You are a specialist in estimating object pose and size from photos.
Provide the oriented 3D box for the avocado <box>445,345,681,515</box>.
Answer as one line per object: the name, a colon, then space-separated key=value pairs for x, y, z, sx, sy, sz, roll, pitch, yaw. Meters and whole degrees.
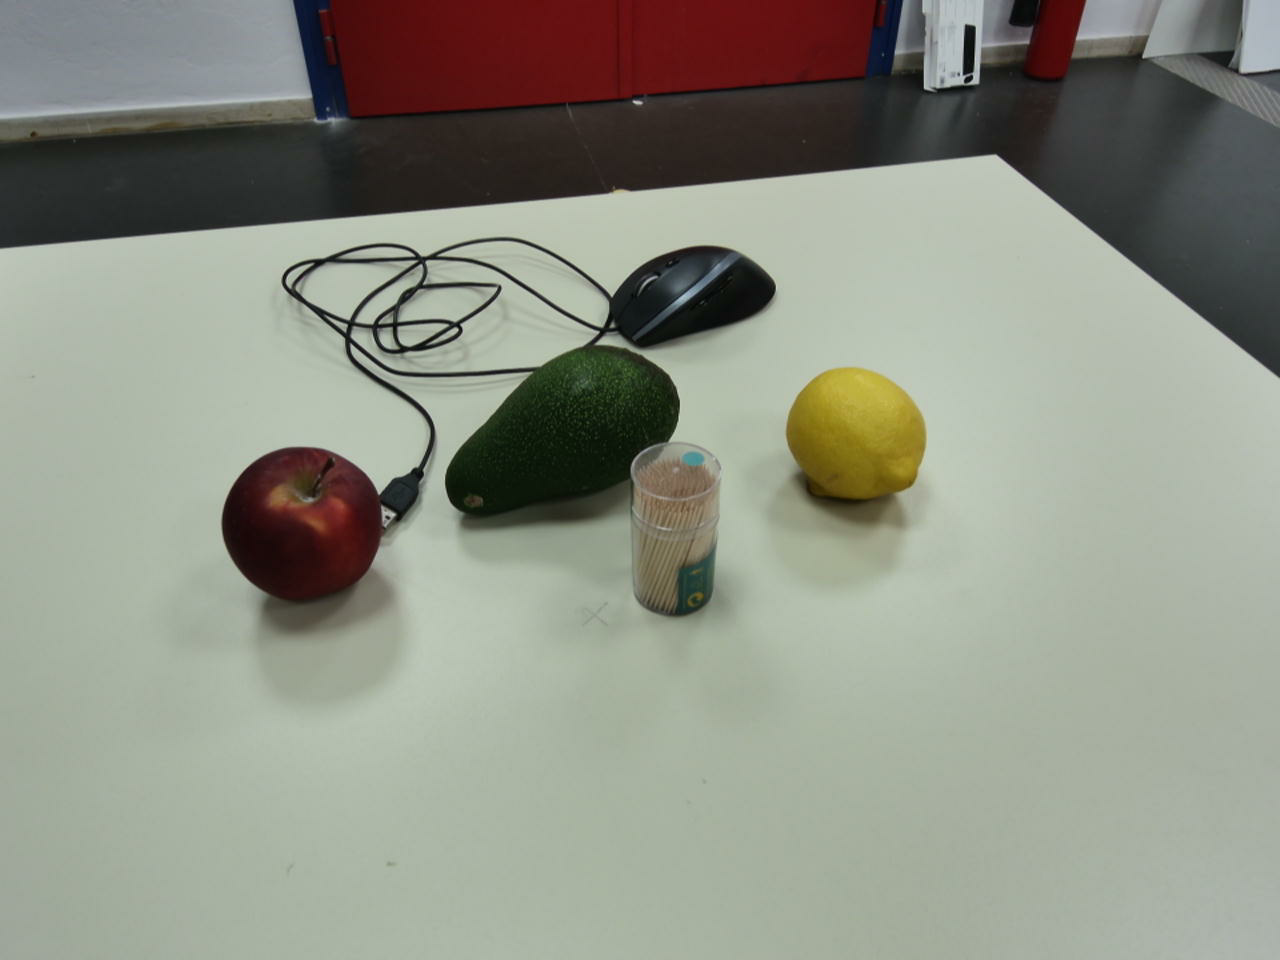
avocado: x=-0.040 y=-0.030 z=0.517 sx=0.123 sy=0.076 sz=0.074 roll=-4 pitch=39 yaw=-5
